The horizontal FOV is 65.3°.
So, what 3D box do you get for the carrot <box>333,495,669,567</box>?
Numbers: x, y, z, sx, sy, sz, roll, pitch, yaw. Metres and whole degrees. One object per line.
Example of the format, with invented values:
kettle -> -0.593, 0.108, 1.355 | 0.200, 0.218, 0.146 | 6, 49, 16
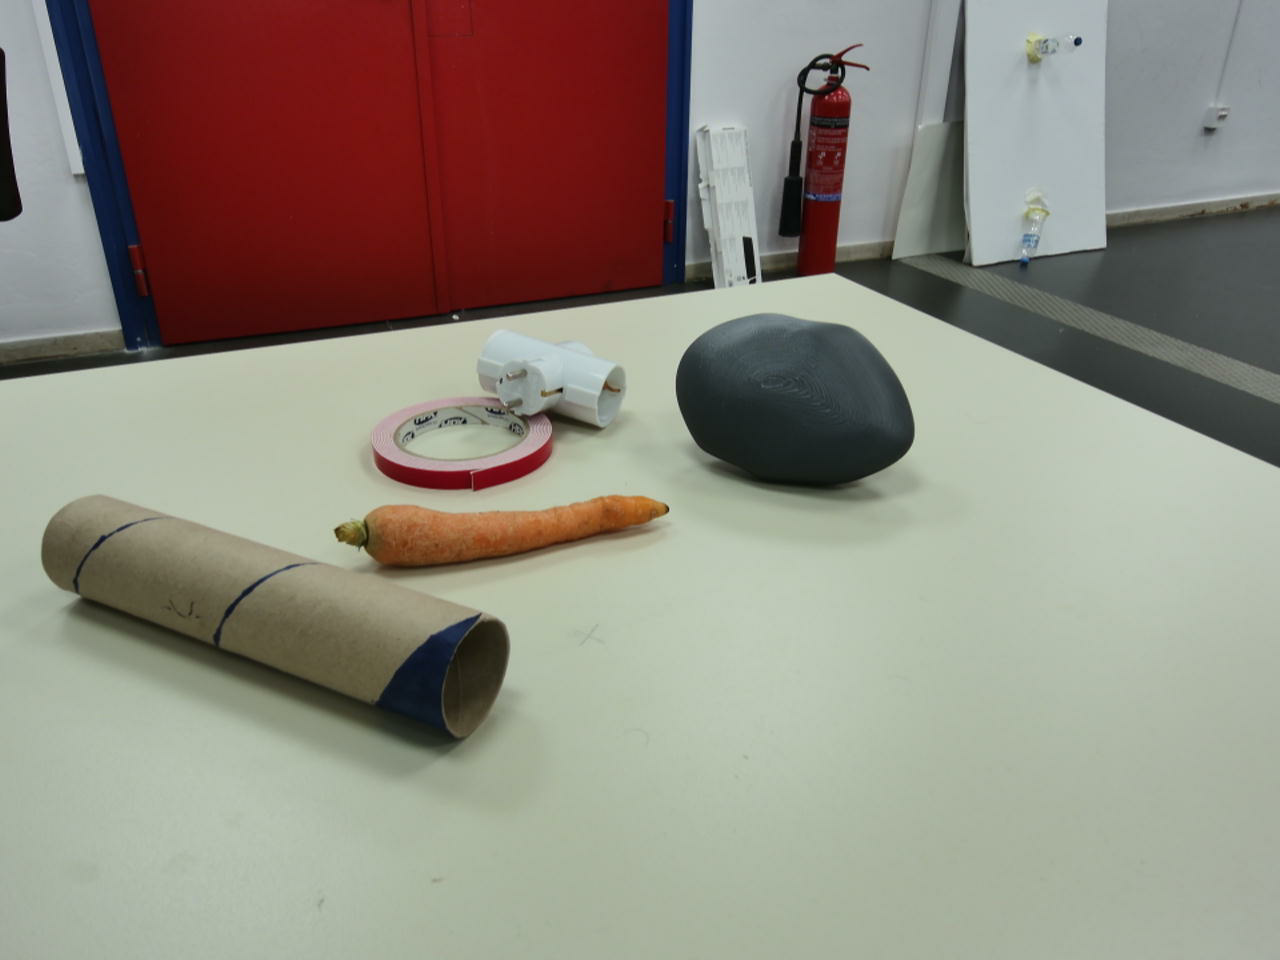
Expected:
carrot -> -0.065, 0.022, 0.506 | 0.173, 0.032, 0.030 | -7, 26, -15
